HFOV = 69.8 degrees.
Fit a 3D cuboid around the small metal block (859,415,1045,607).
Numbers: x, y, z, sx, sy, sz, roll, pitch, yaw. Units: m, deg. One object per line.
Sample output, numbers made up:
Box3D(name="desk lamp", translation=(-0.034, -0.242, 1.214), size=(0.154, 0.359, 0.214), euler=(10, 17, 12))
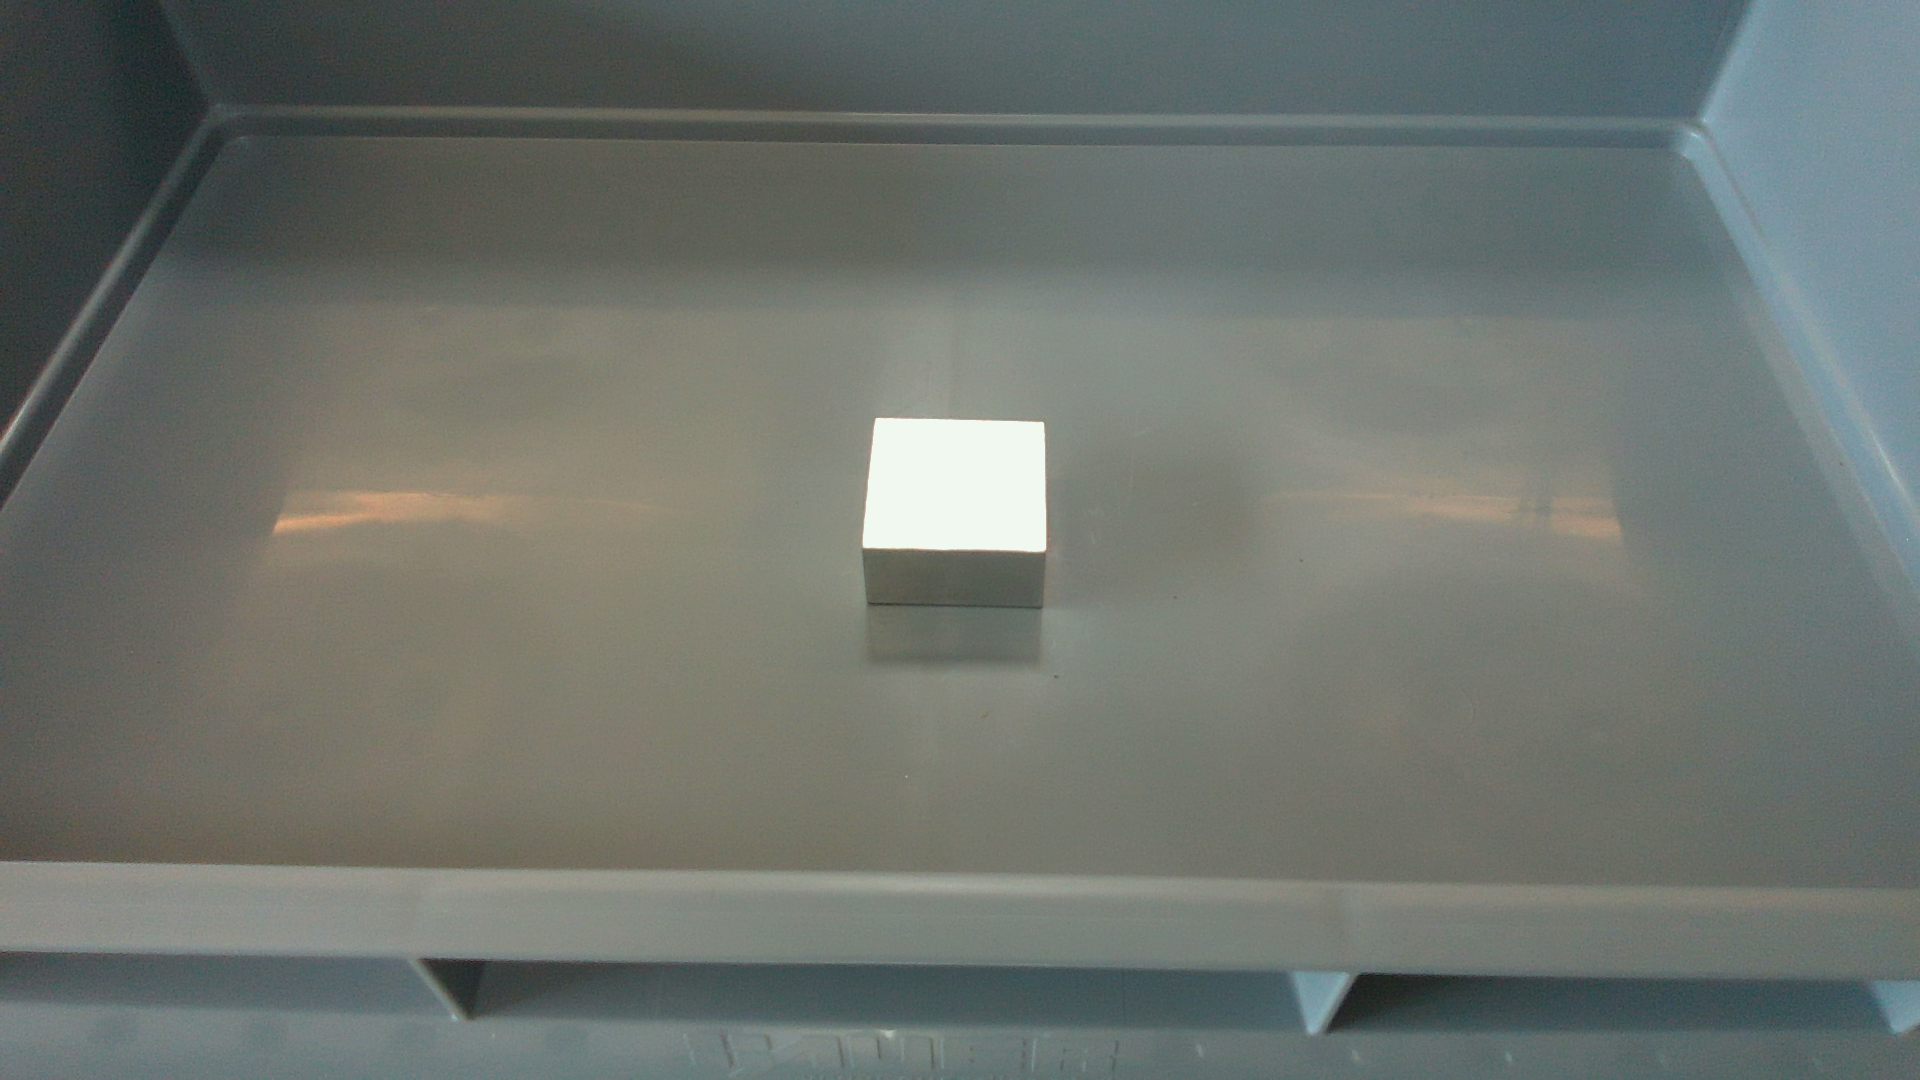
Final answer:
Box3D(name="small metal block", translation=(-0.001, -0.009, 0.395), size=(0.050, 0.025, 0.050), euler=(1, 50, 1))
